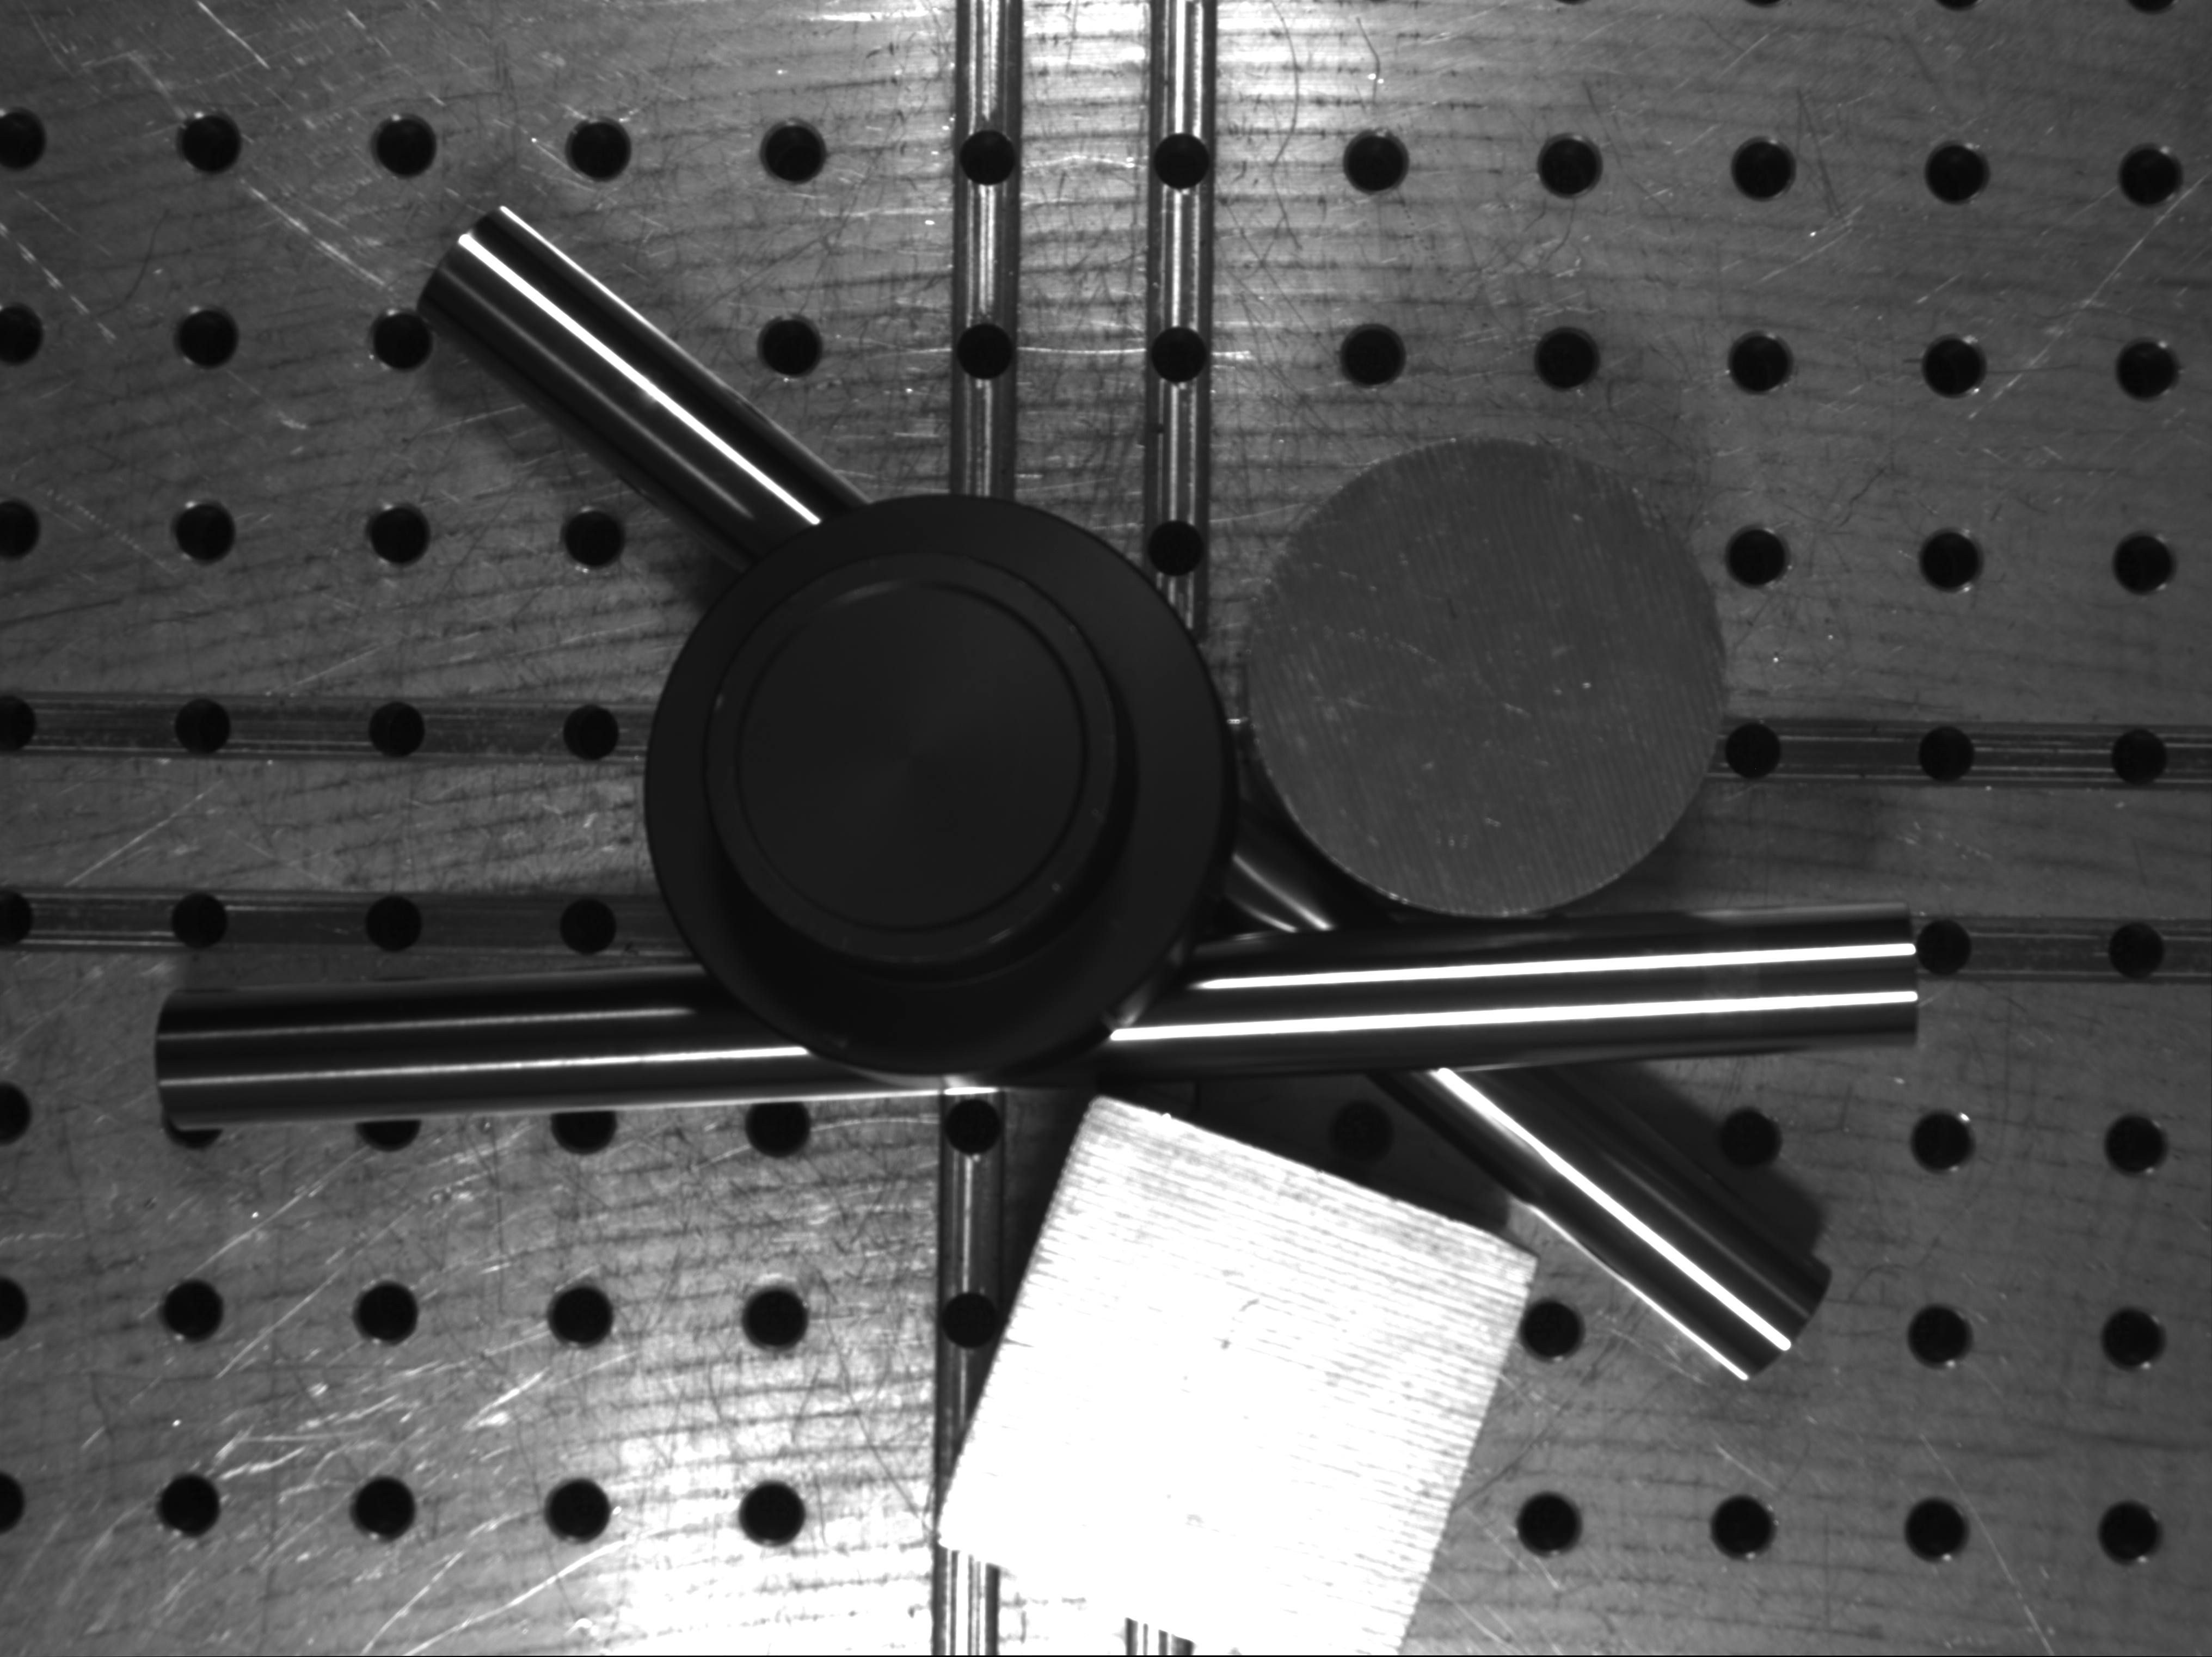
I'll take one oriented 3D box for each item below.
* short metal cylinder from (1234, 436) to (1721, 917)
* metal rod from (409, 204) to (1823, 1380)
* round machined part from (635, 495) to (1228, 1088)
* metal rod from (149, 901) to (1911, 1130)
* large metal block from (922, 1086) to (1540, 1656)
[{"bbox_3d":[0.062,-0.025,0.635,0.080,0.050,0.080,0,90,0],"label":"short metal cylinder"},{"bbox_3d":[0.002,-0.006,0.648,0.300,0.025,0.025,39,90,0],"label":"metal rod"},{"bbox_3d":[-0.030,-0.008,0.605,0.098,0.042,0.098,-1,81,5],"label":"round machined part"},{"bbox_3d":[-0.016,0.033,0.629,0.300,0.025,0.025,-3,90,7],"label":"metal rod"},{"bbox_3d":[0.021,0.094,0.633,0.080,0.050,0.080,20,90,0],"label":"large metal block"}]
